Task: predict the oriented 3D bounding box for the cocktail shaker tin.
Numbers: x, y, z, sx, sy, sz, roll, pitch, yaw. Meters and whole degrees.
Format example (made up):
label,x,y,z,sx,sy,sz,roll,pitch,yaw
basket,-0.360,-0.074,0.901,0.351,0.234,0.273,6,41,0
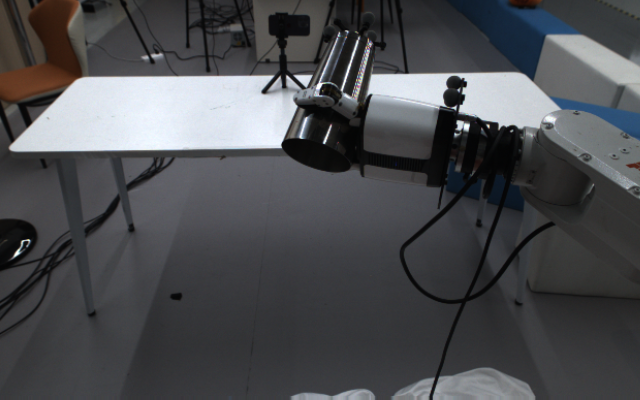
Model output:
label,x,y,z,sx,sy,sz,roll,pitch,yaw
cocktail shaker tin,0.018,-0.133,0.634,0.093,0.093,0.170,14,72,16
